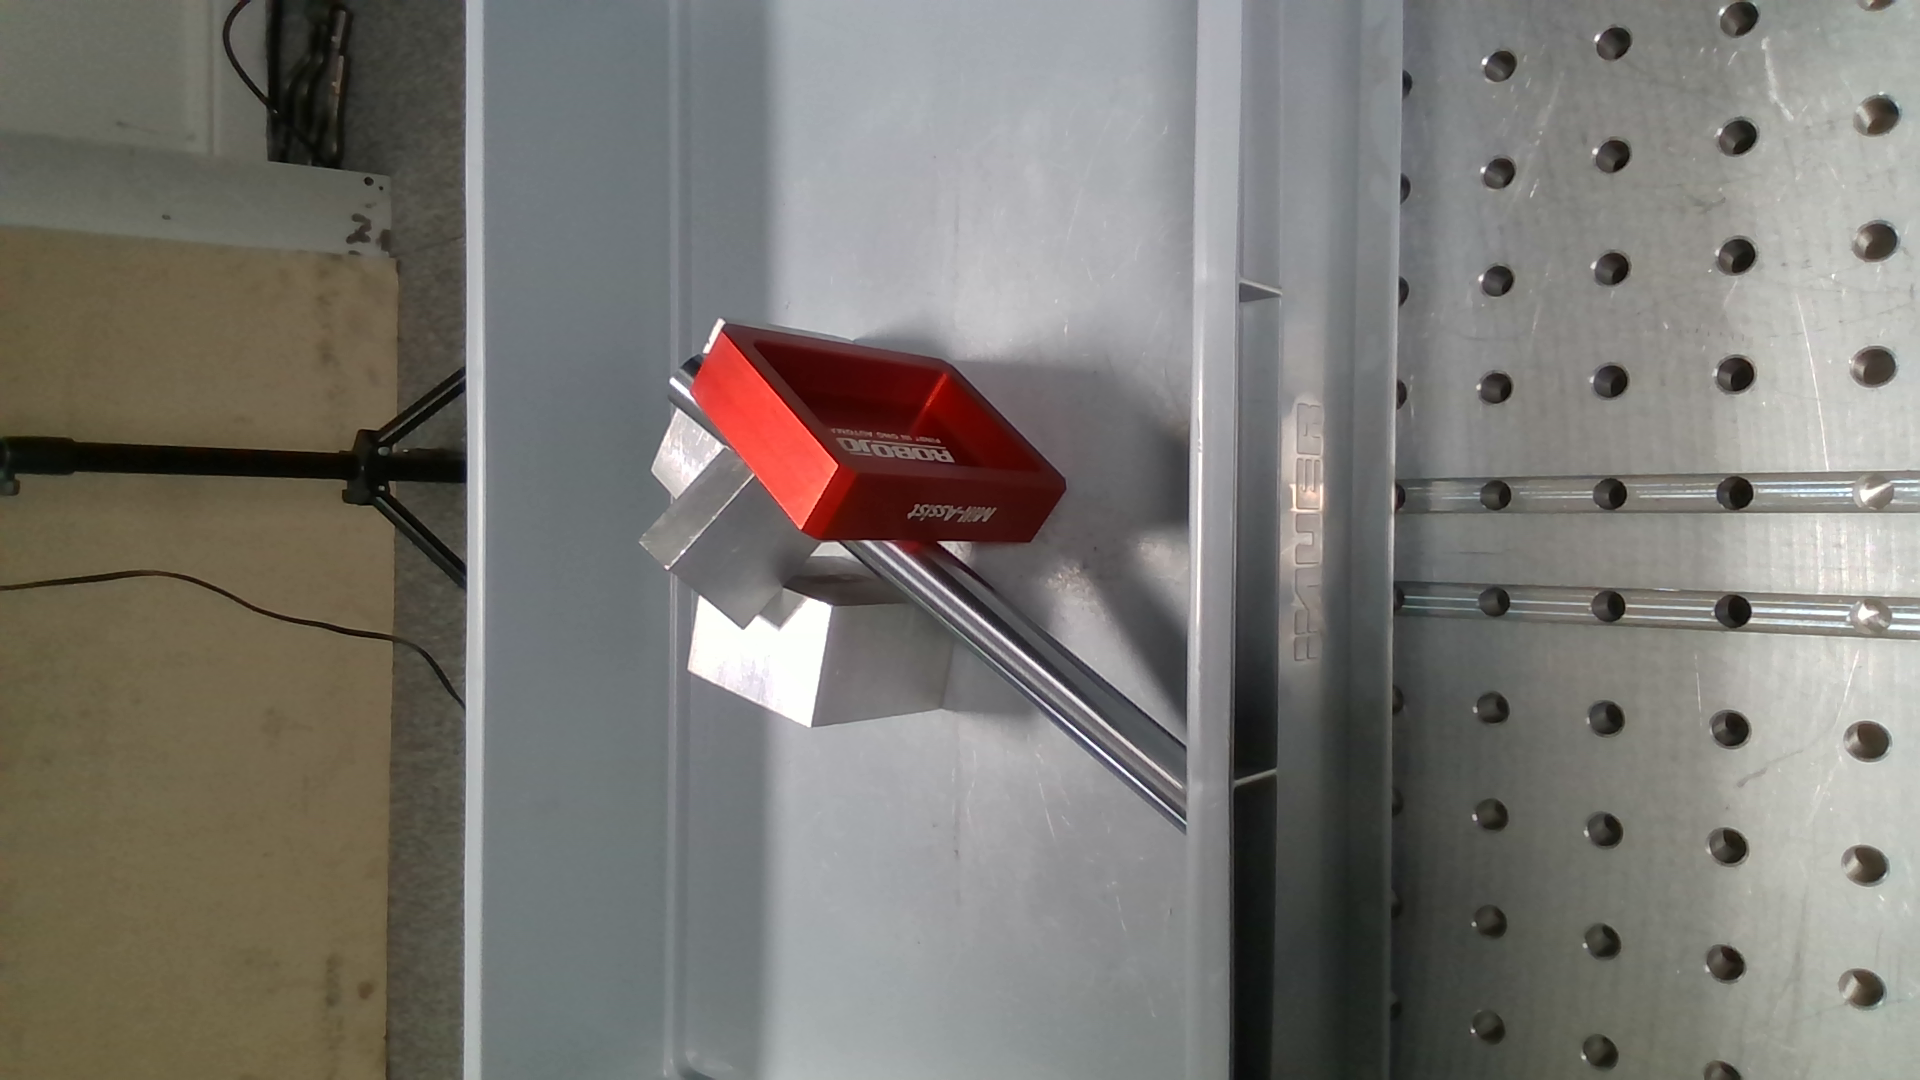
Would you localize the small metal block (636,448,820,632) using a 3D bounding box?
[{"bbox_3d":[-0.090,0.000,0.543,0.050,0.050,0.025,-48,47,-7],"label":"small metal block"}]

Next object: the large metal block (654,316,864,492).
[{"bbox_3d":[-0.076,-0.047,0.611,0.050,0.080,0.080,44,117,31],"label":"large metal block"}]

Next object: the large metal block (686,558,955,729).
[{"bbox_3d":[-0.058,0.041,0.596,0.080,0.080,0.050,17,101,39],"label":"large metal block"}]

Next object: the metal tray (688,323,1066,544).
[{"bbox_3d":[-0.029,-0.039,0.536,0.090,0.130,0.030,48,118,30],"label":"metal tray"}]

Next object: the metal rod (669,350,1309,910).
[{"bbox_3d":[0.003,0.027,0.519,0.300,0.025,0.025,40,116,14],"label":"metal rod"}]
